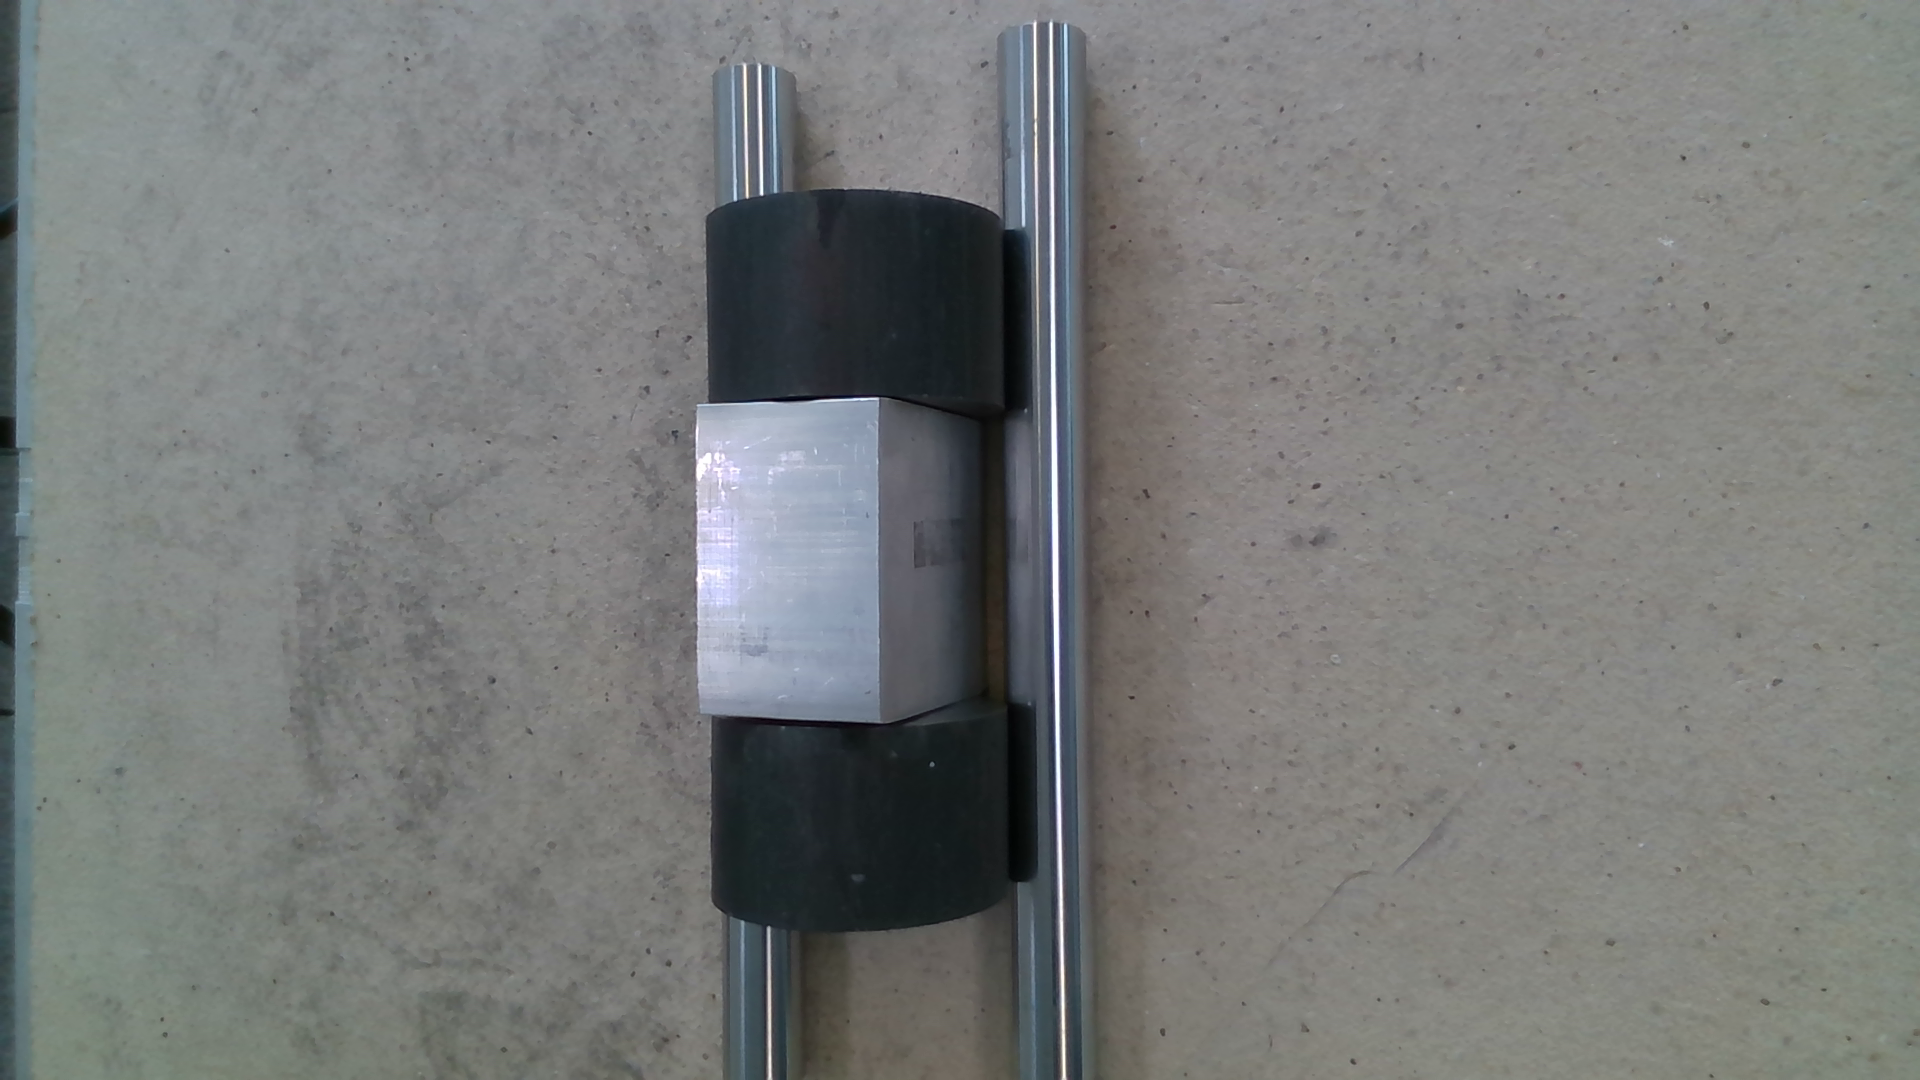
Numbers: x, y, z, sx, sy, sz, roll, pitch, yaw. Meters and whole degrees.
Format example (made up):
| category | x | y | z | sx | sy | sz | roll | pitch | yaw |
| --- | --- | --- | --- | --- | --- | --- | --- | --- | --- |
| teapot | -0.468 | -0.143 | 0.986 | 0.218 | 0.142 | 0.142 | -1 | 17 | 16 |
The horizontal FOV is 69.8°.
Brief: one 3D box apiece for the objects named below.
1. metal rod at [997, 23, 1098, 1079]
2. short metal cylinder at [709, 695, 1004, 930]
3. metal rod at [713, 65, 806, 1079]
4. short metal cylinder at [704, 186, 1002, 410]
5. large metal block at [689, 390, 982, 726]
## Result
| category | x | y | z | sx | sy | sz | roll | pitch | yaw |
| --- | --- | --- | --- | --- | --- | --- | --- | --- | --- |
| metal rod | 0.024 | 0.010 | 0.385 | 0.025 | 0.025 | 0.300 | -1 | 90 | 20 |
| short metal cylinder | -0.028 | 0.070 | 0.375 | 0.080 | 0.080 | 0.050 | -1 | 90 | 20 |
| metal rod | -0.061 | 0.011 | 0.417 | 0.025 | 0.025 | 0.300 | -1 | 90 | 20 |
| short metal cylinder | -0.029 | -0.061 | 0.374 | 0.080 | 0.080 | 0.050 | -1 | 90 | 20 |
| large metal block | -0.030 | 0.004 | 0.373 | 0.050 | 0.080 | 0.080 | 0 | 90 | 20 |
